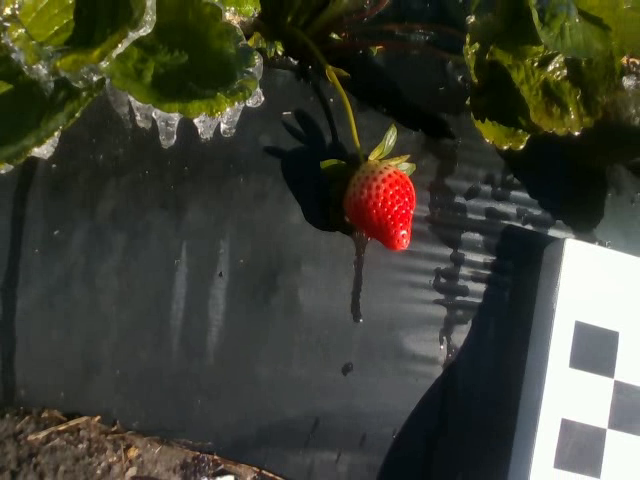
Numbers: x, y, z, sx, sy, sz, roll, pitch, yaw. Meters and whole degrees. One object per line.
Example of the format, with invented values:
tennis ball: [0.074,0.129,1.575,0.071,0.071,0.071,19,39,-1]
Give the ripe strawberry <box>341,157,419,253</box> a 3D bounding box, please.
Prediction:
ripe strawberry: [0.032,-0.014,0.280,0.039,0.053,0.041,-6,-28,-11]
